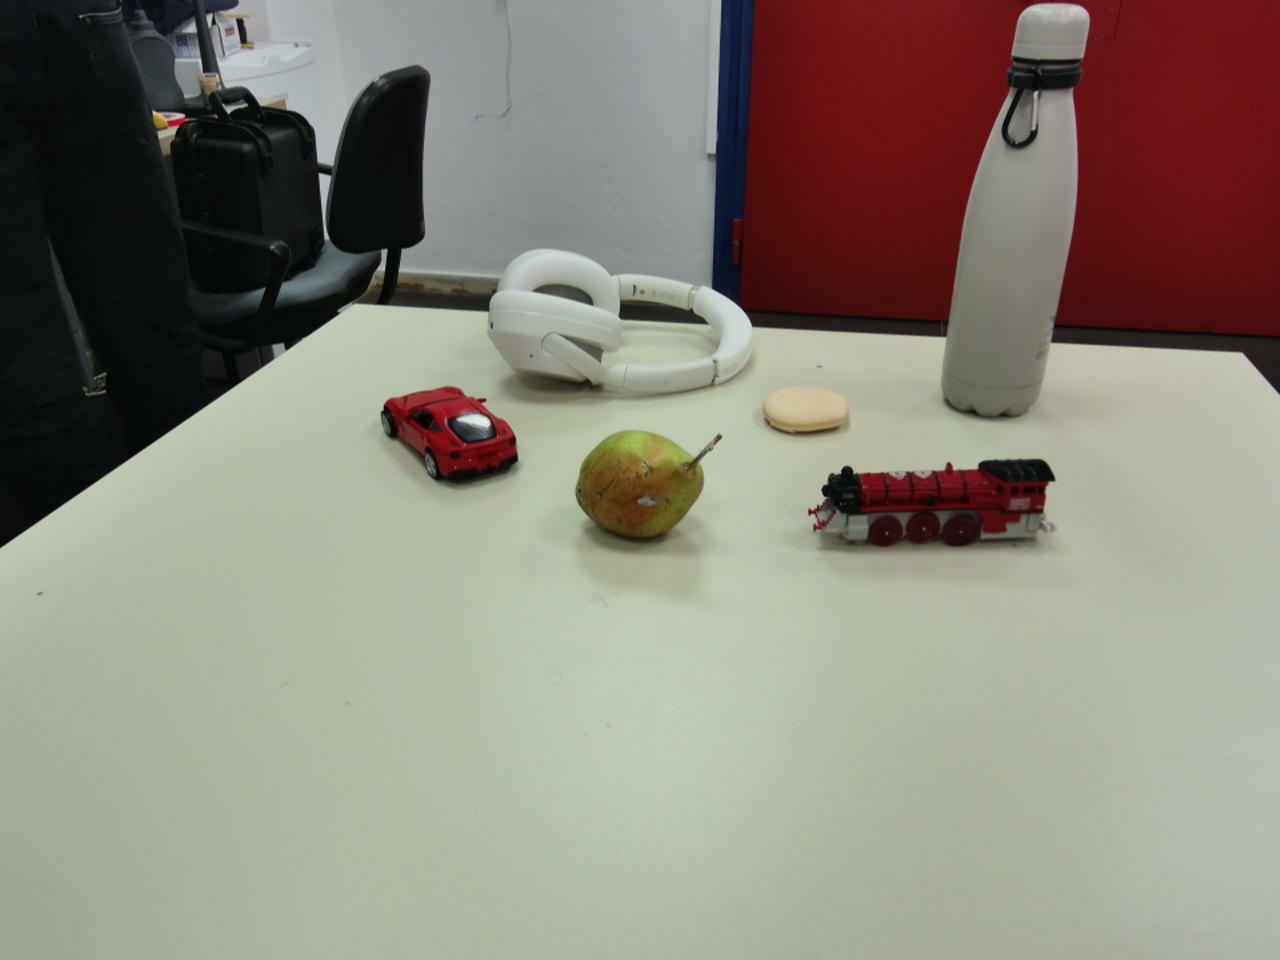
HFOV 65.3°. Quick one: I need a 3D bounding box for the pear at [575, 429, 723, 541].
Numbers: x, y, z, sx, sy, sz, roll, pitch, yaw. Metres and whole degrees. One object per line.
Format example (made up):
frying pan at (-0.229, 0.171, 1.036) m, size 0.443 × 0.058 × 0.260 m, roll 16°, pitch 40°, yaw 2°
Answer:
pear at (-0.001, 0.000, 0.580) m, size 0.068 × 0.069 × 0.070 m, roll -13°, pitch 29°, yaw -24°
